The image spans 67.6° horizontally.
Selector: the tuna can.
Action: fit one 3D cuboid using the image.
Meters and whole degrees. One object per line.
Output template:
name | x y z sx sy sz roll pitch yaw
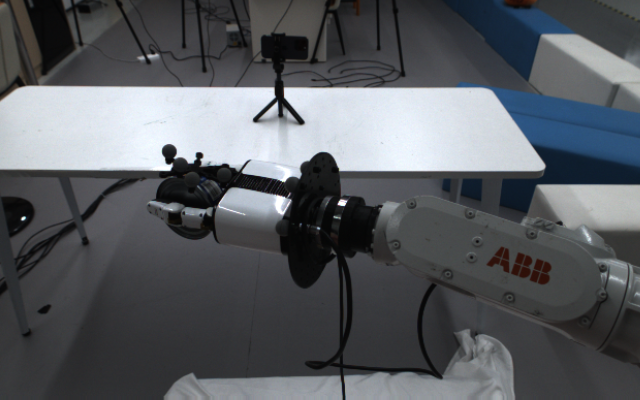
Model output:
tuna can | -0.159 0.004 0.607 0.085 0.085 0.034 16 28 19
